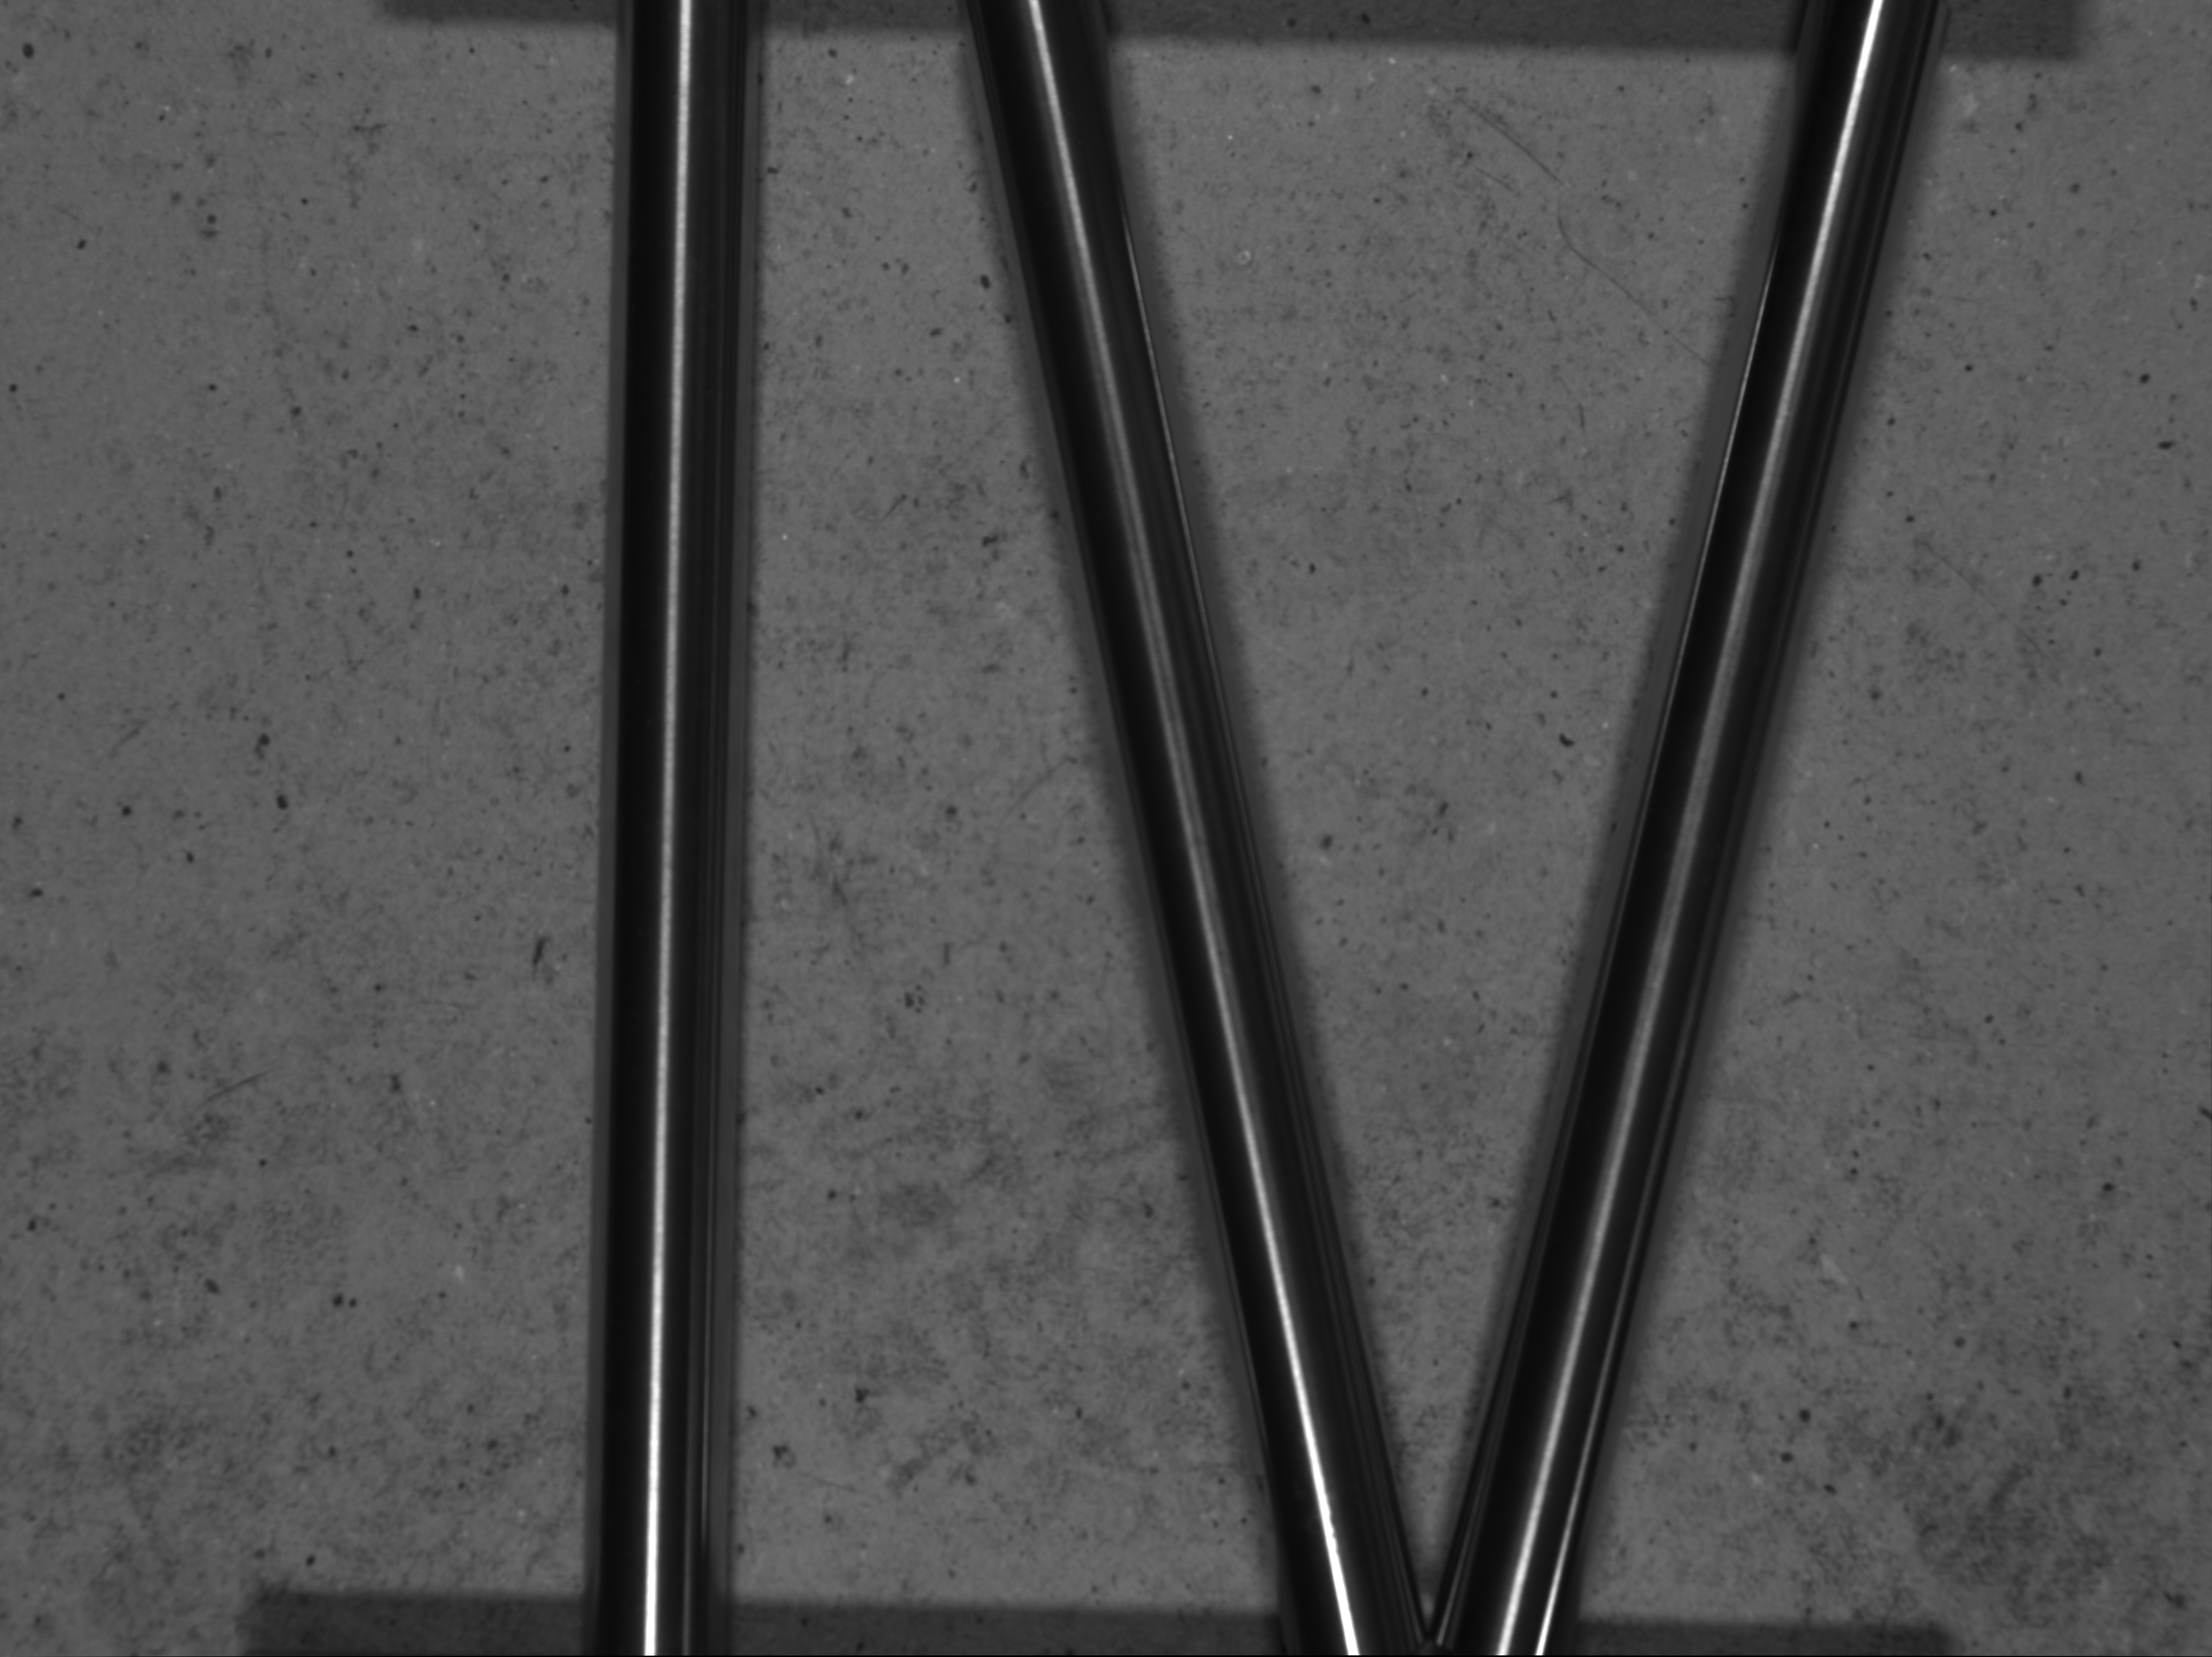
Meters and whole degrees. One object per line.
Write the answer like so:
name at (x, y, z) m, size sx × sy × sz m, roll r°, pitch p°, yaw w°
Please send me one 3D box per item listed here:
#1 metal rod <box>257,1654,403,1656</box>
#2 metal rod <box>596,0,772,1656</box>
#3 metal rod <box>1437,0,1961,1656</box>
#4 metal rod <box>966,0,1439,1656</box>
metal rod at (0.001, 0.161, 0.644) m, size 0.300 × 0.025 × 0.025 m, roll 1°, pitch 90°, yaw -1°
metal rod at (-0.074, -0.004, 0.644) m, size 0.025 × 0.025 × 0.300 m, roll 1°, pitch 90°, yaw 0°
metal rod at (0.104, -0.001, 0.645) m, size 0.025 × 0.025 × 0.300 m, roll 13°, pitch 90°, yaw 0°
metal rod at (0.017, -0.001, 0.645) m, size 0.025 × 0.025 × 0.300 m, roll -11°, pitch 90°, yaw 0°
